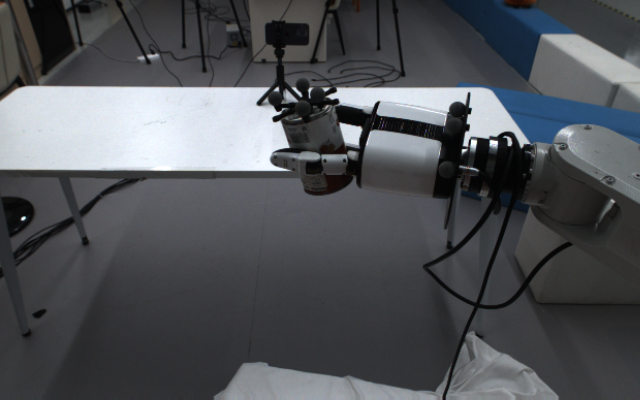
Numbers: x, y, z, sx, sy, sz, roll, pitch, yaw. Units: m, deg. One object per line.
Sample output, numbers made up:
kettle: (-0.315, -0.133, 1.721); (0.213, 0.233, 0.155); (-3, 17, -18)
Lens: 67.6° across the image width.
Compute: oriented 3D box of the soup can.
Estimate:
soup can: (-0.001, -0.066, 0.594); (0.067, 0.101, 0.067); (-13, 31, 8)
